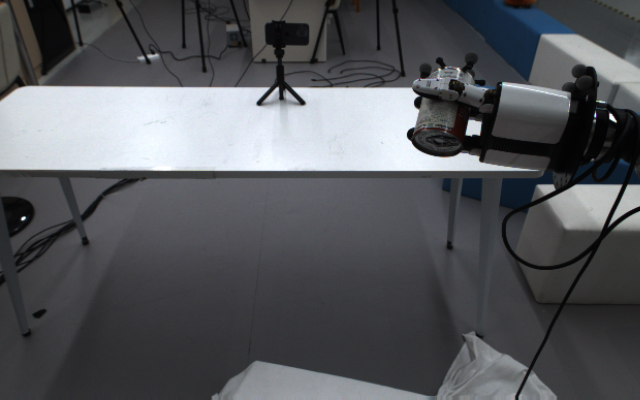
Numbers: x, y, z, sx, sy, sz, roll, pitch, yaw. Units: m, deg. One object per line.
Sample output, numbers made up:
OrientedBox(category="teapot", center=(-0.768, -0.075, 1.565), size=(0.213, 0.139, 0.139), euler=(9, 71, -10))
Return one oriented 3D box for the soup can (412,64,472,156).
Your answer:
OrientedBox(category="soup can", center=(0.167, -0.122, 0.655), size=(0.067, 0.067, 0.101), euler=(12, 70, 14))
